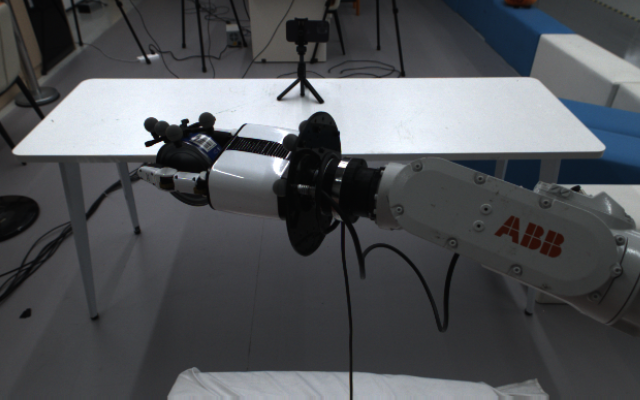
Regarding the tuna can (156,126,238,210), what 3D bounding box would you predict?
[{"bbox_3d":[-0.149,-0.036,0.579,0.085,0.085,0.034,14,33,16],"label":"tuna can"}]
